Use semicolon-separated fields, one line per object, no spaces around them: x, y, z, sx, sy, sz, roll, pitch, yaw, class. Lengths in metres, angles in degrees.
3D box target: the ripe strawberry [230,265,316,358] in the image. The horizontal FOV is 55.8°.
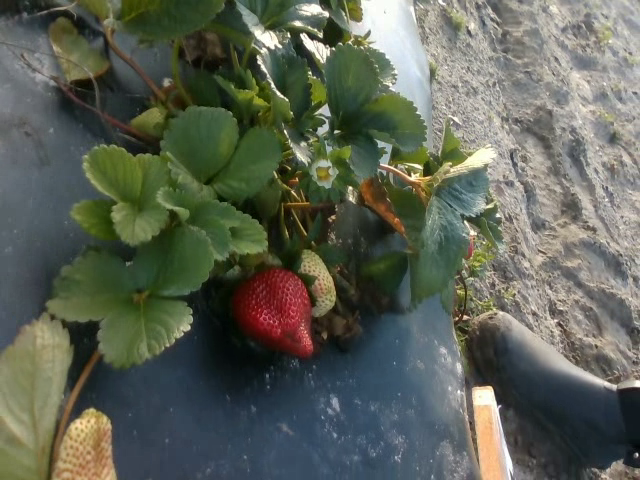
-0.024;0.048;0.360;0.057;0.058;0.071;-19;17;-7;ripe strawberry
